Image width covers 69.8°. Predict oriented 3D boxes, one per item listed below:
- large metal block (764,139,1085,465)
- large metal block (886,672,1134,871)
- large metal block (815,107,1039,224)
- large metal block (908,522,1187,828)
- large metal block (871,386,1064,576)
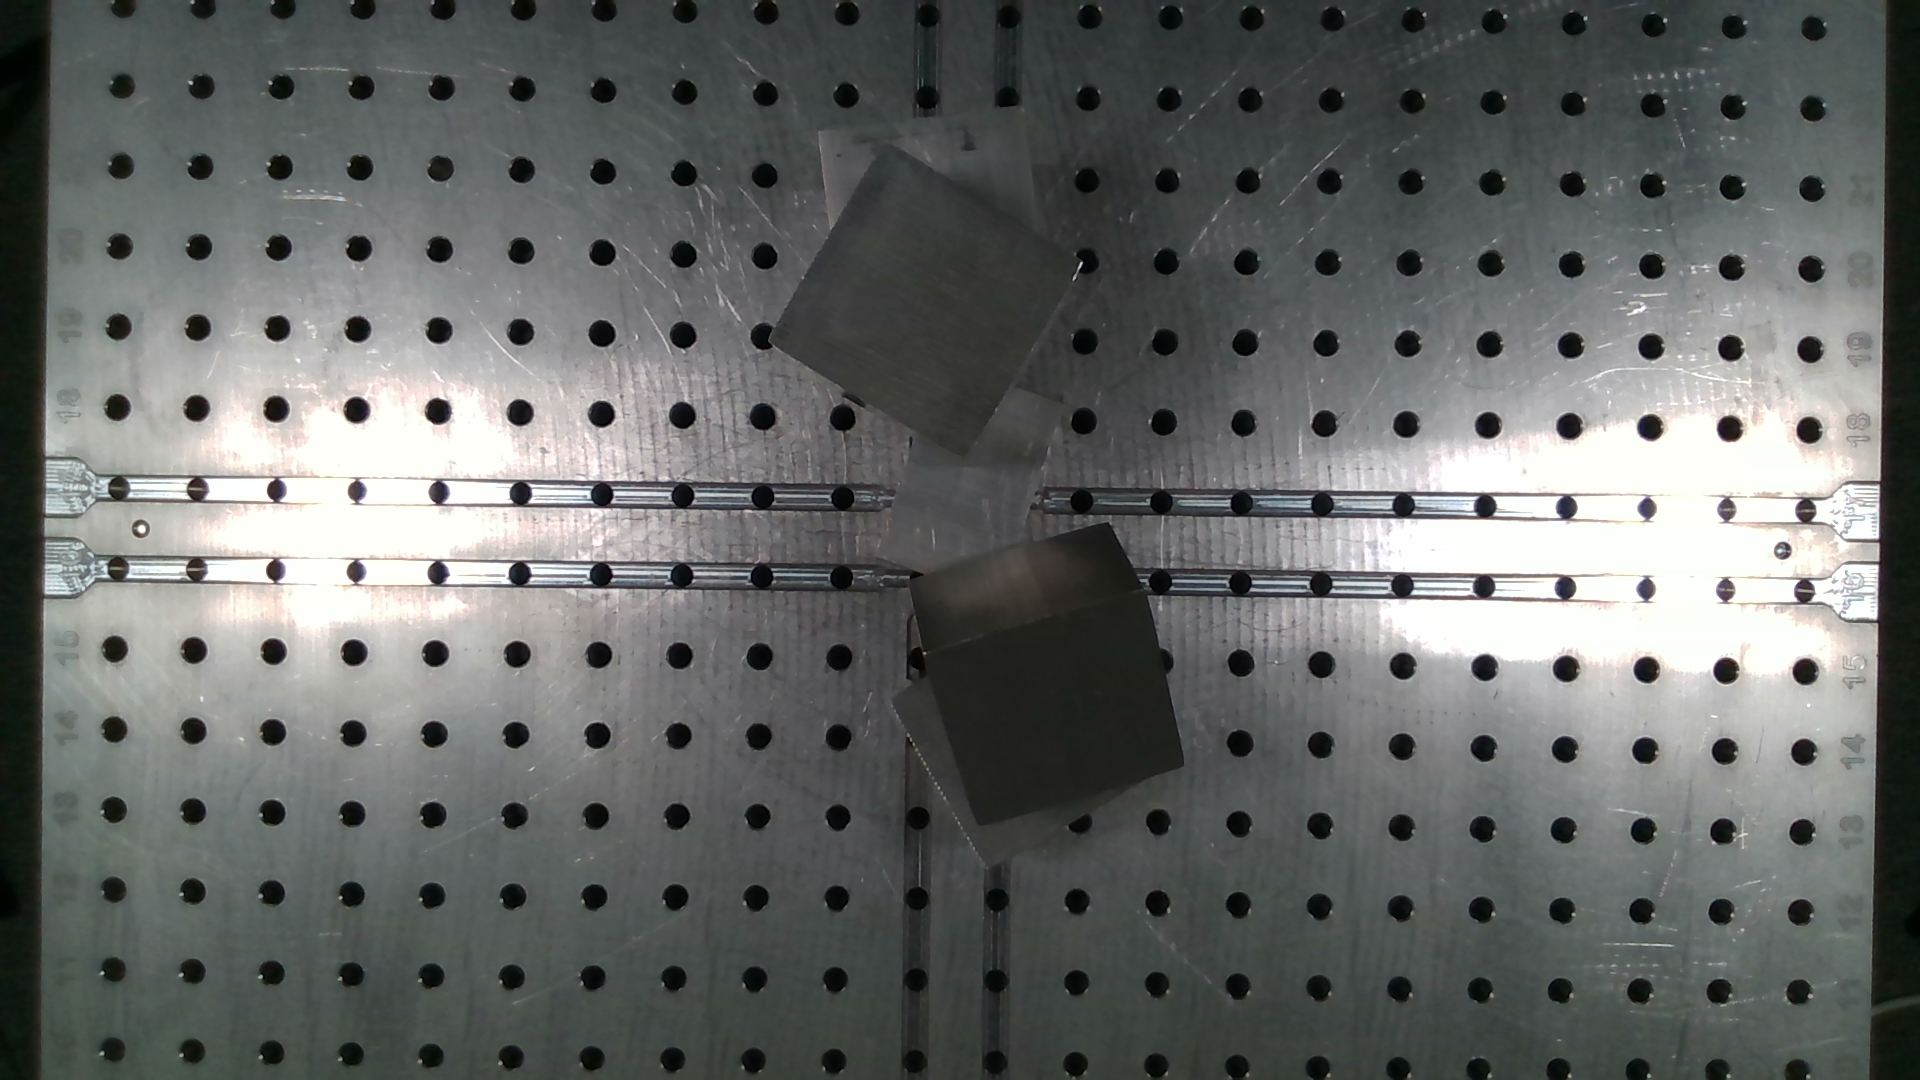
[{"bbox_3d":[-0.012,-0.082,0.495,0.080,0.050,0.080,31,90,0],"label":"large metal block"},{"bbox_3d":[0.025,0.078,0.578,0.080,0.050,0.080,-30,90,0],"label":"large metal block"},{"bbox_3d":[-0.012,-0.134,0.560,0.080,0.080,0.050,-6,90,0],"label":"large metal block"},{"bbox_3d":[0.032,0.050,0.509,0.080,0.050,0.080,-16,119,0],"label":"large metal block"},{"bbox_3d":[0.003,-0.023,0.561,0.050,0.080,0.080,19,90,0],"label":"large metal block"}]
